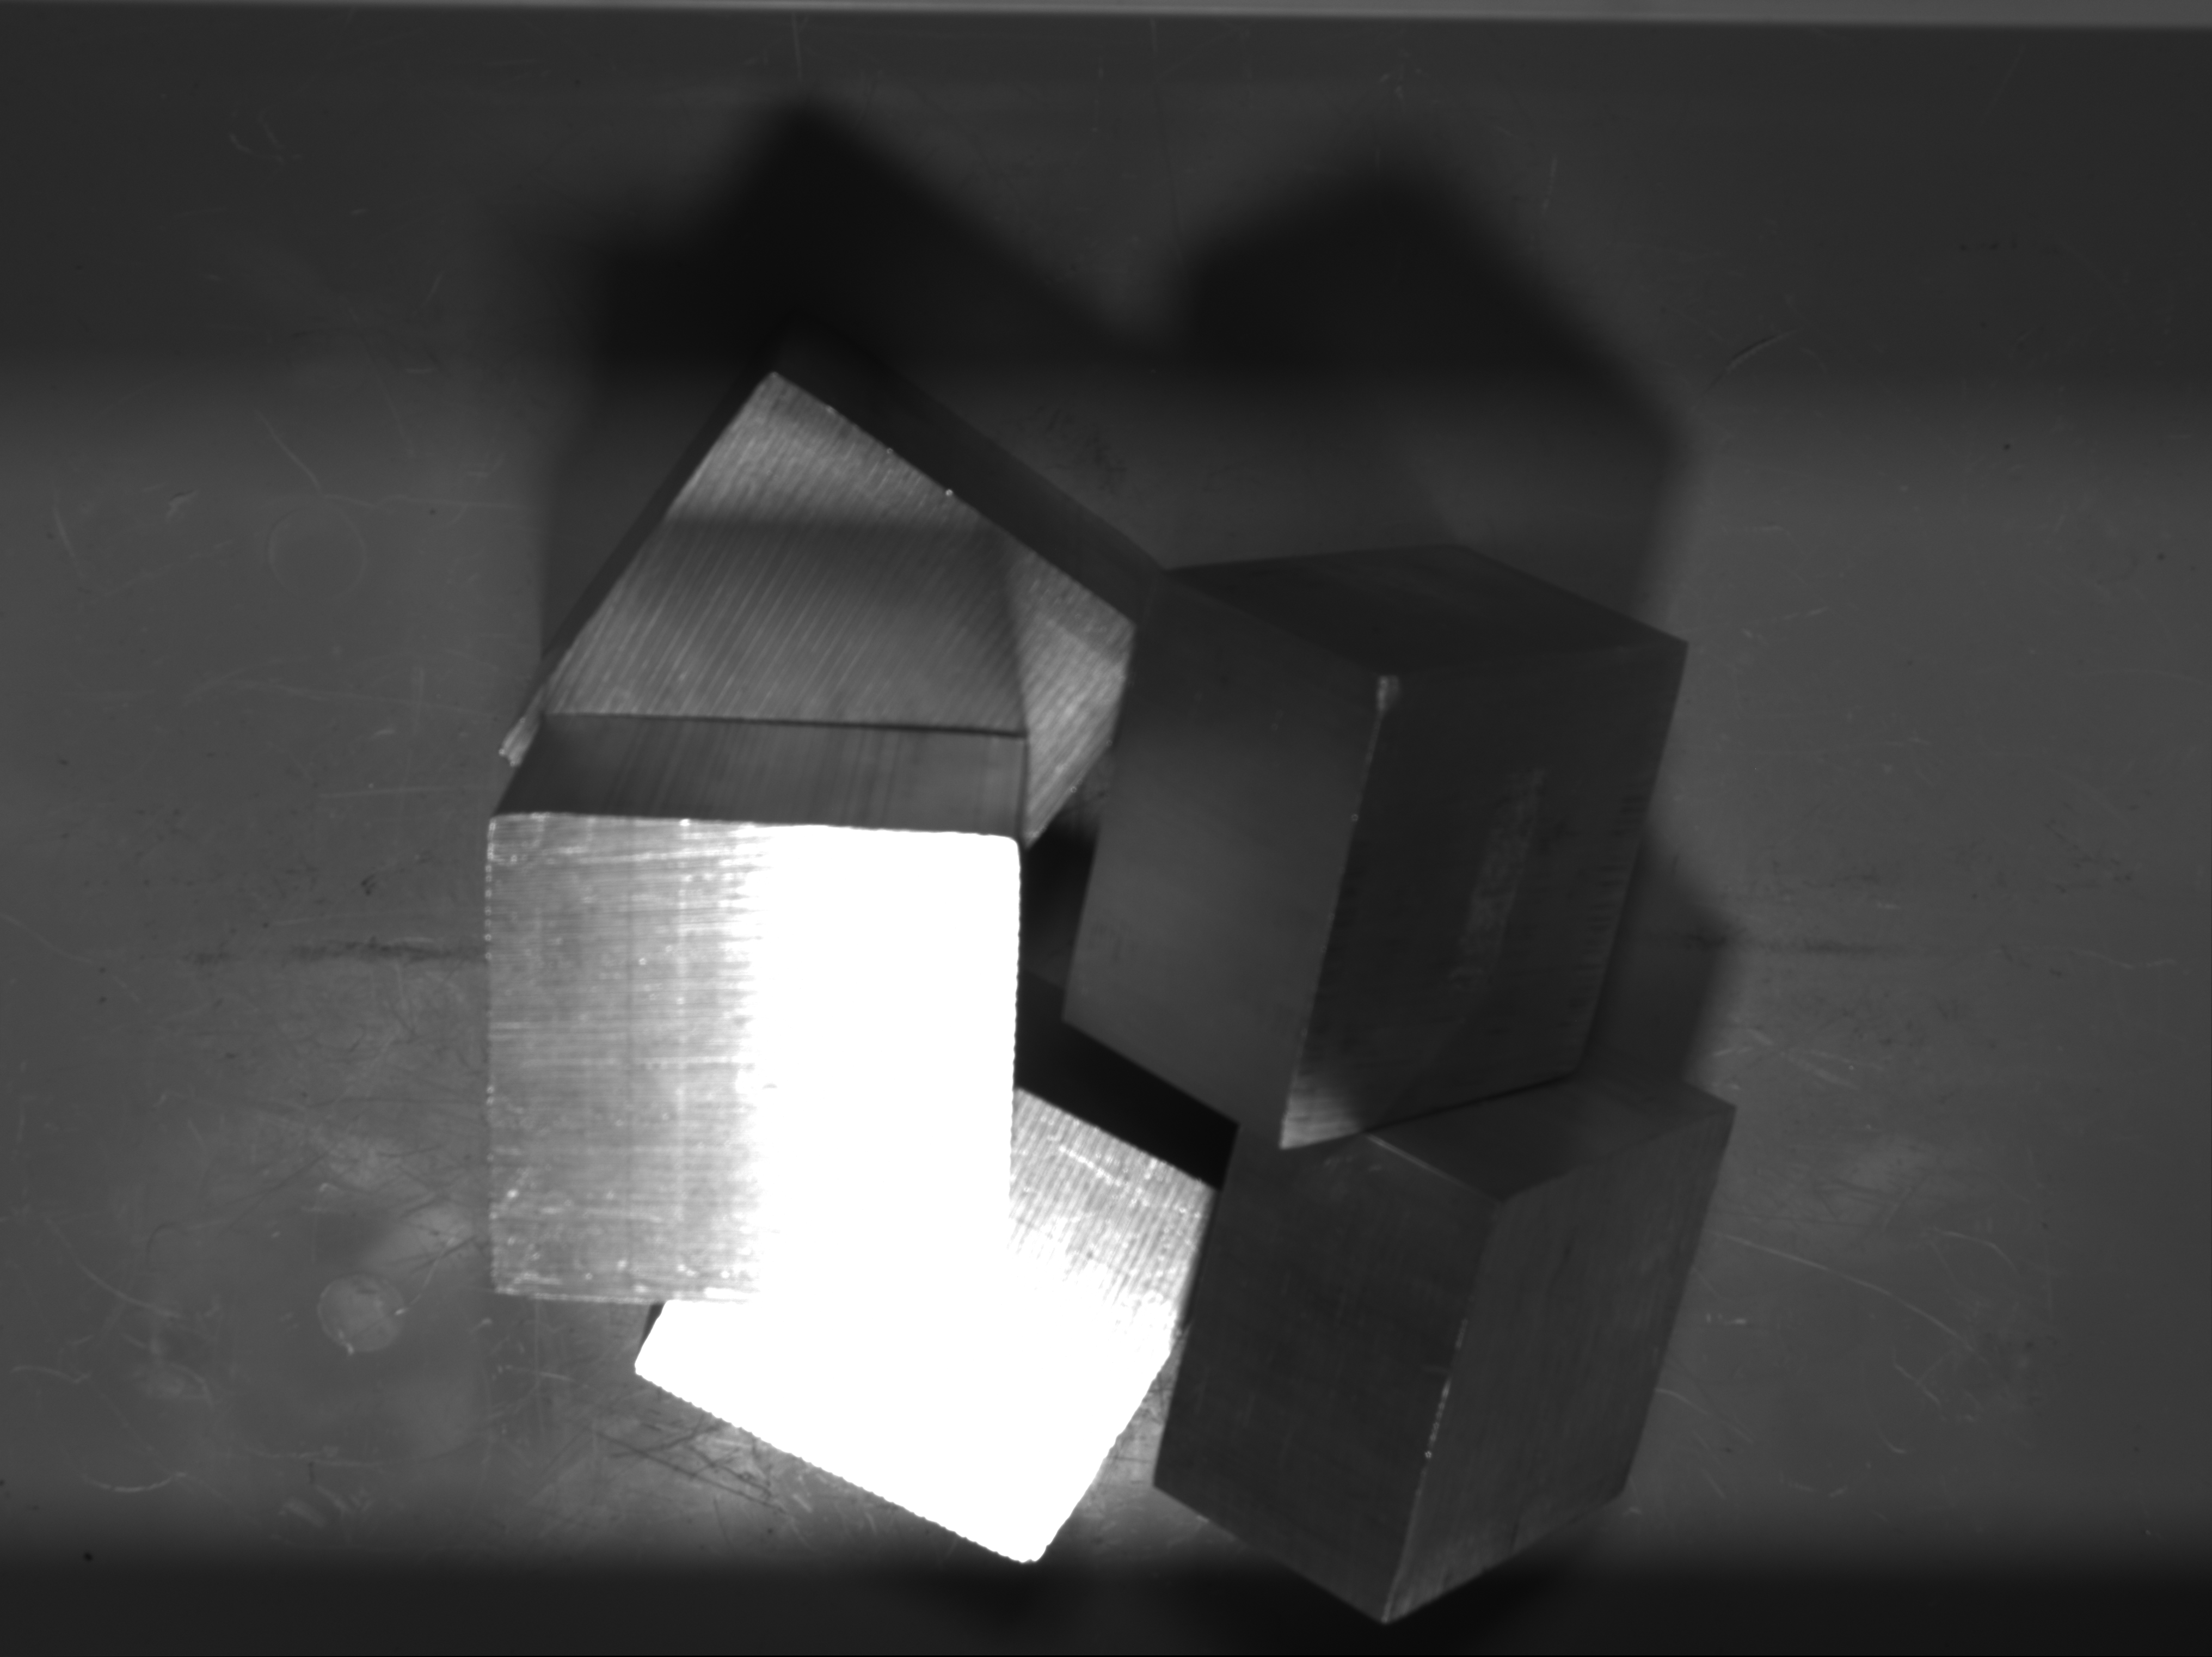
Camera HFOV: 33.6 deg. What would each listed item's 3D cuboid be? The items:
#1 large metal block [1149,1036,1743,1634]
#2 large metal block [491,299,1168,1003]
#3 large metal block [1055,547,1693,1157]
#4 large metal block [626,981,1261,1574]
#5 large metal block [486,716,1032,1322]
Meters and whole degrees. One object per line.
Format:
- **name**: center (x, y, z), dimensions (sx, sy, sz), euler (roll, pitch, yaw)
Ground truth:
- **large metal block**: center (0.059, 0.082, 0.636), dimensions (0.050, 0.080, 0.080), euler (26, 113, 32)
- **large metal block**: center (-0.045, -0.029, 0.618), dimensions (0.080, 0.050, 0.080), euler (34, 106, -12)
- **large metal block**: center (0.044, 0.001, 0.607), dimensions (0.080, 0.050, 0.080), euler (-9, 118, -46)
- **large metal block**: center (-0.028, 0.072, 0.651), dimensions (0.080, 0.050, 0.080), euler (28, 107, -10)
- **large metal block**: center (-0.054, 0.029, 0.584), dimensions (0.080, 0.050, 0.080), euler (3, 109, 0)
